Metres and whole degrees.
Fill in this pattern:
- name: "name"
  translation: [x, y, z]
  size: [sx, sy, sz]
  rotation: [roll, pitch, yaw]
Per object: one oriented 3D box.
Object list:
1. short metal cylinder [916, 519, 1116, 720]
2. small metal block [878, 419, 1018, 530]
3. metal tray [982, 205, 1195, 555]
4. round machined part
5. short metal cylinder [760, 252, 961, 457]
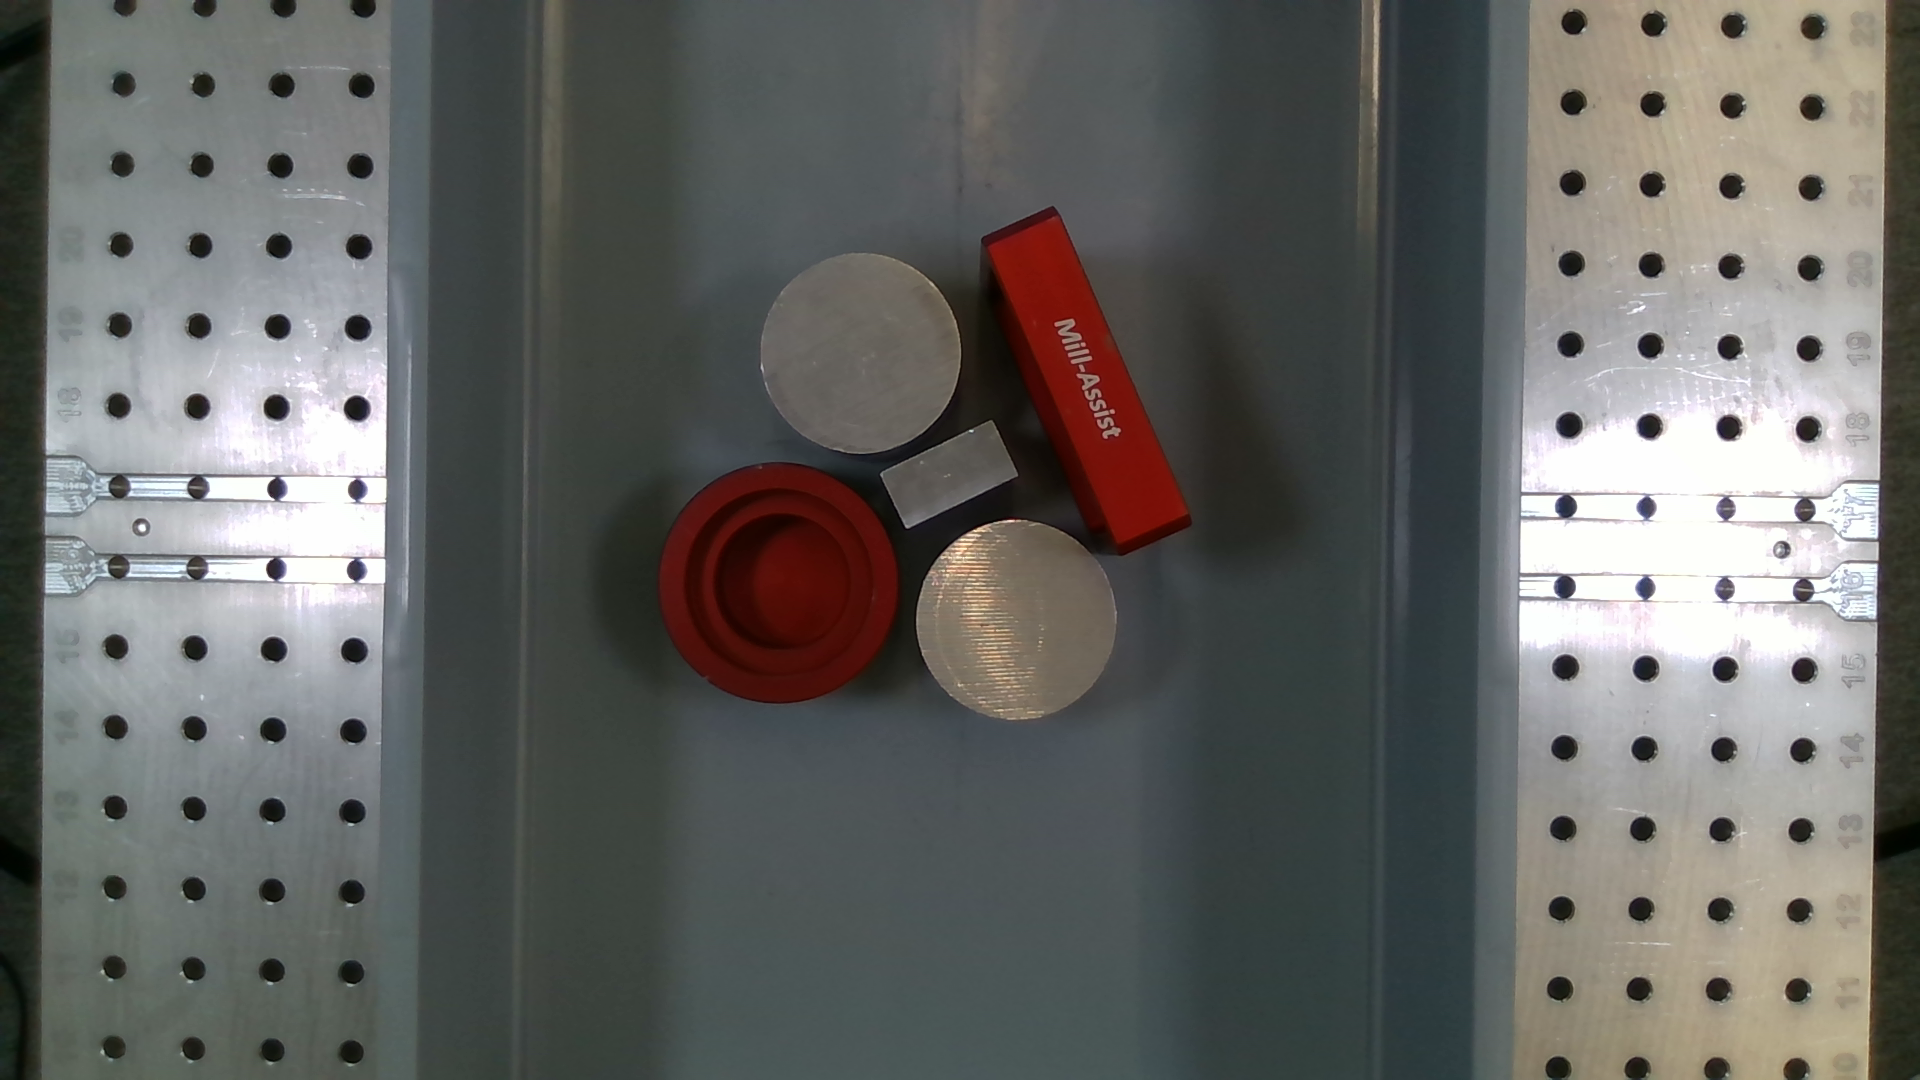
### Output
- name: "short metal cylinder"
  translation: [0.022, 0.032, 0.574]
  size: [0.080, 0.050, 0.080]
  rotation: [0, 90, 0]
- name: "small metal block"
  translation: [-0.005, -0.026, 0.573]
  size: [0.050, 0.050, 0.025]
  rotation: [-25, 90, 0]
- name: "metal tray"
  translation: [0.048, -0.059, 0.552]
  size: [0.030, 0.090, 0.130]
  rotation: [-24, 90, 0]
- name: "round machined part"
  translation: [-0.074, 0.017, 0.577]
  size: [0.098, 0.042, 0.098]
  rotation: [0, 91, 0]
- name: "short metal cylinder"
  translation: [-0.040, -0.074, 0.573]
  size: [0.080, 0.050, 0.080]
  rotation: [0, 90, 0]
